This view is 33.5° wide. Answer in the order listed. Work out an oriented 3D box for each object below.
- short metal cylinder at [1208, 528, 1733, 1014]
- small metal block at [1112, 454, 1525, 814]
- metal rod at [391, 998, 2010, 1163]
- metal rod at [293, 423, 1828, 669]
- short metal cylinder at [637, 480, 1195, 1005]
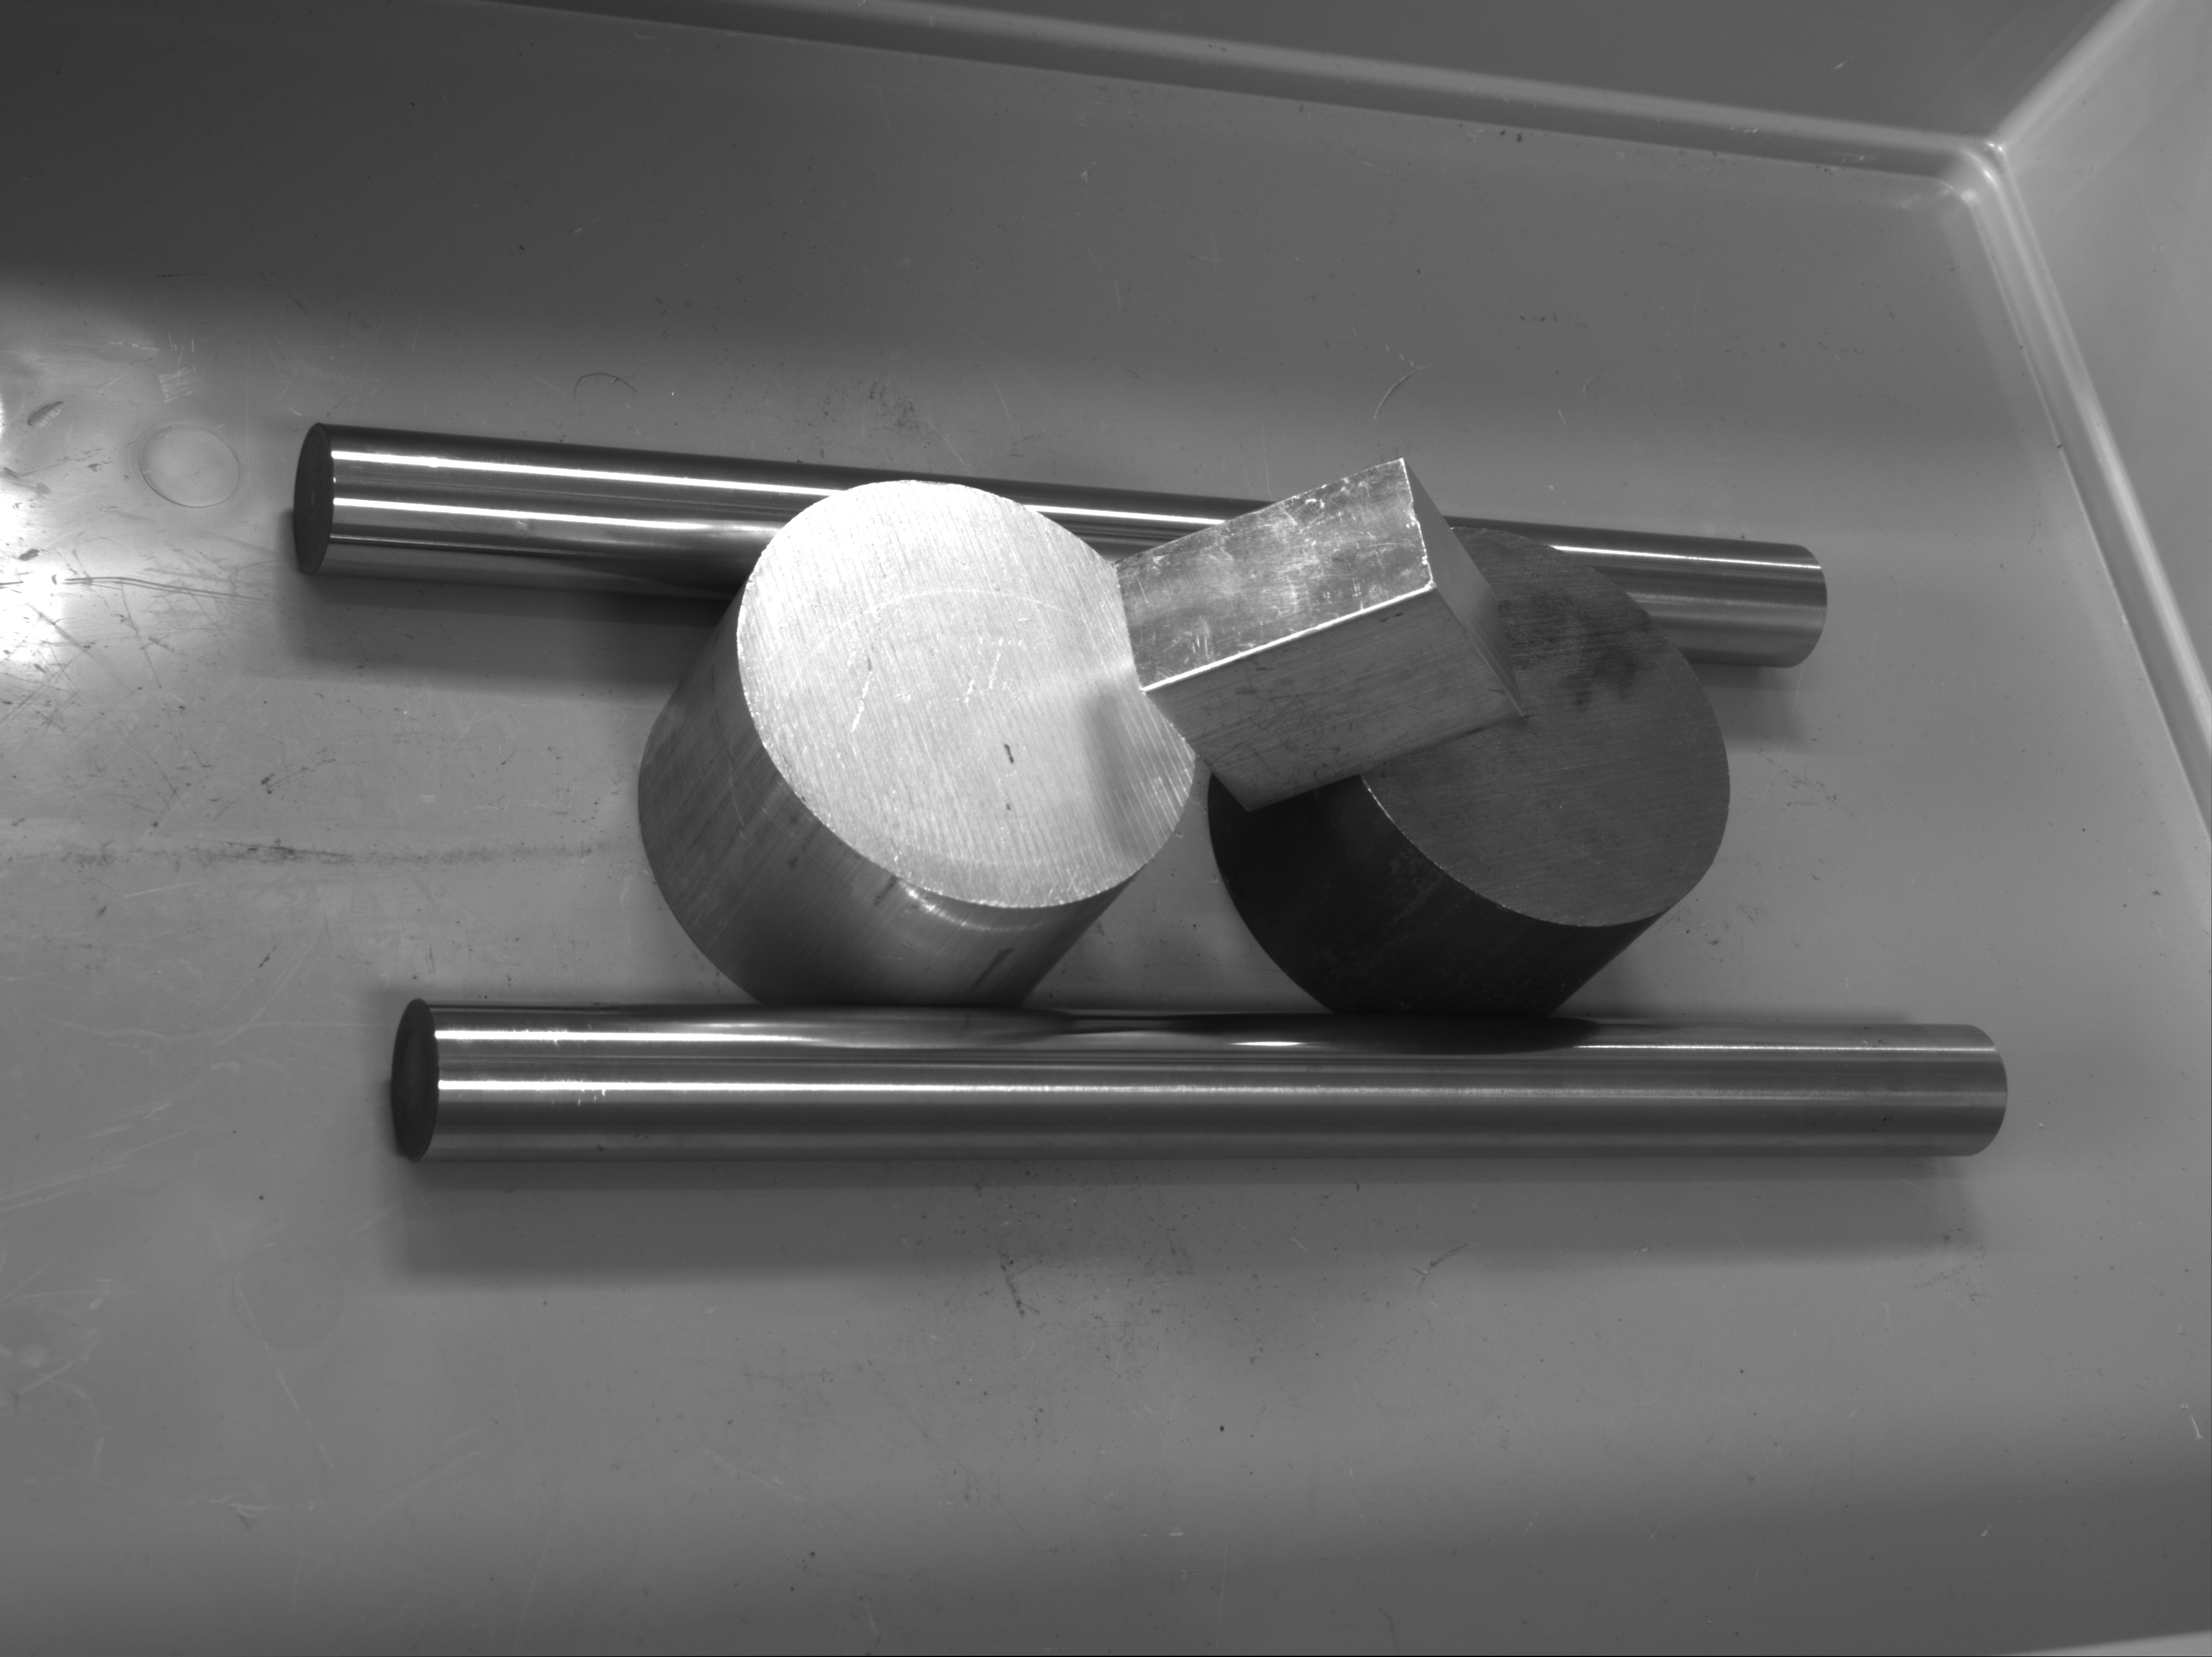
[{"bbox_3d":[0.065,-0.007,0.661,0.080,0.050,0.080,13,56,-21],"label":"short metal cylinder"},{"bbox_3d":[0.035,-0.031,0.601,0.050,0.050,0.025,45,29,-58],"label":"small metal block"},{"bbox_3d":[0.029,0.044,0.627,0.301,0.025,0.025,2,60,-27],"label":"metal rod"},{"bbox_3d":[0.004,-0.049,0.670,0.301,0.025,0.025,2,61,-27],"label":"metal rod"},{"bbox_3d":[-0.032,-0.011,0.612,0.080,0.050,0.080,13,56,-21],"label":"short metal cylinder"}]
